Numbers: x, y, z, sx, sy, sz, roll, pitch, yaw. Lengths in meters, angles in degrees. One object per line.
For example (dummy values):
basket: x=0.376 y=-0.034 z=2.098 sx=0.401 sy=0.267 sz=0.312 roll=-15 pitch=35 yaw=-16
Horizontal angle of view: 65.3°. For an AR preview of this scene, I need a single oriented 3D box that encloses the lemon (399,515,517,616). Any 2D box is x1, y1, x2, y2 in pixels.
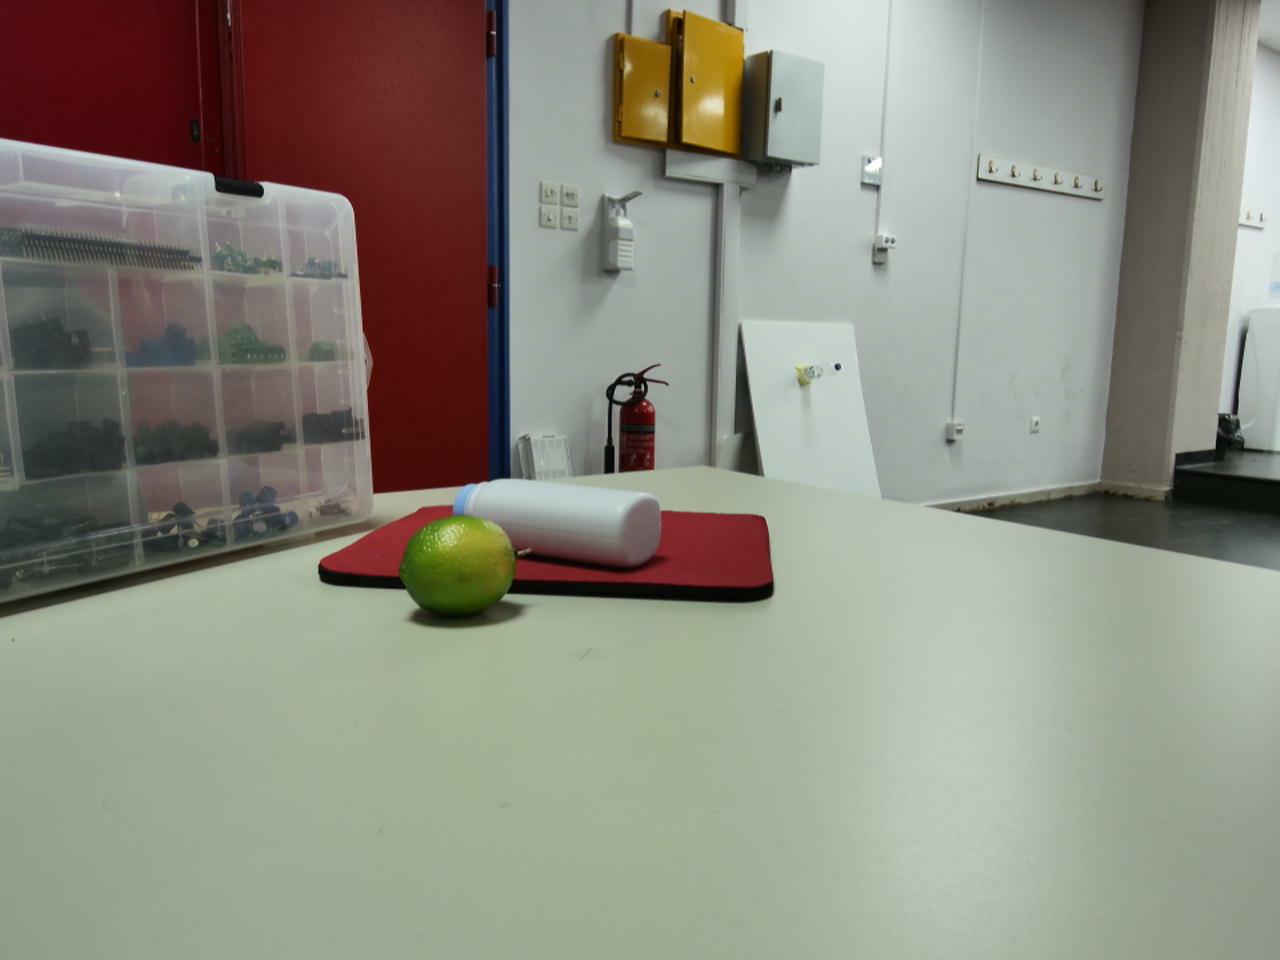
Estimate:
lemon: x=-0.091 y=0.043 z=0.505 sx=0.055 sy=0.050 sz=0.054 roll=1 pitch=7 yaw=13
